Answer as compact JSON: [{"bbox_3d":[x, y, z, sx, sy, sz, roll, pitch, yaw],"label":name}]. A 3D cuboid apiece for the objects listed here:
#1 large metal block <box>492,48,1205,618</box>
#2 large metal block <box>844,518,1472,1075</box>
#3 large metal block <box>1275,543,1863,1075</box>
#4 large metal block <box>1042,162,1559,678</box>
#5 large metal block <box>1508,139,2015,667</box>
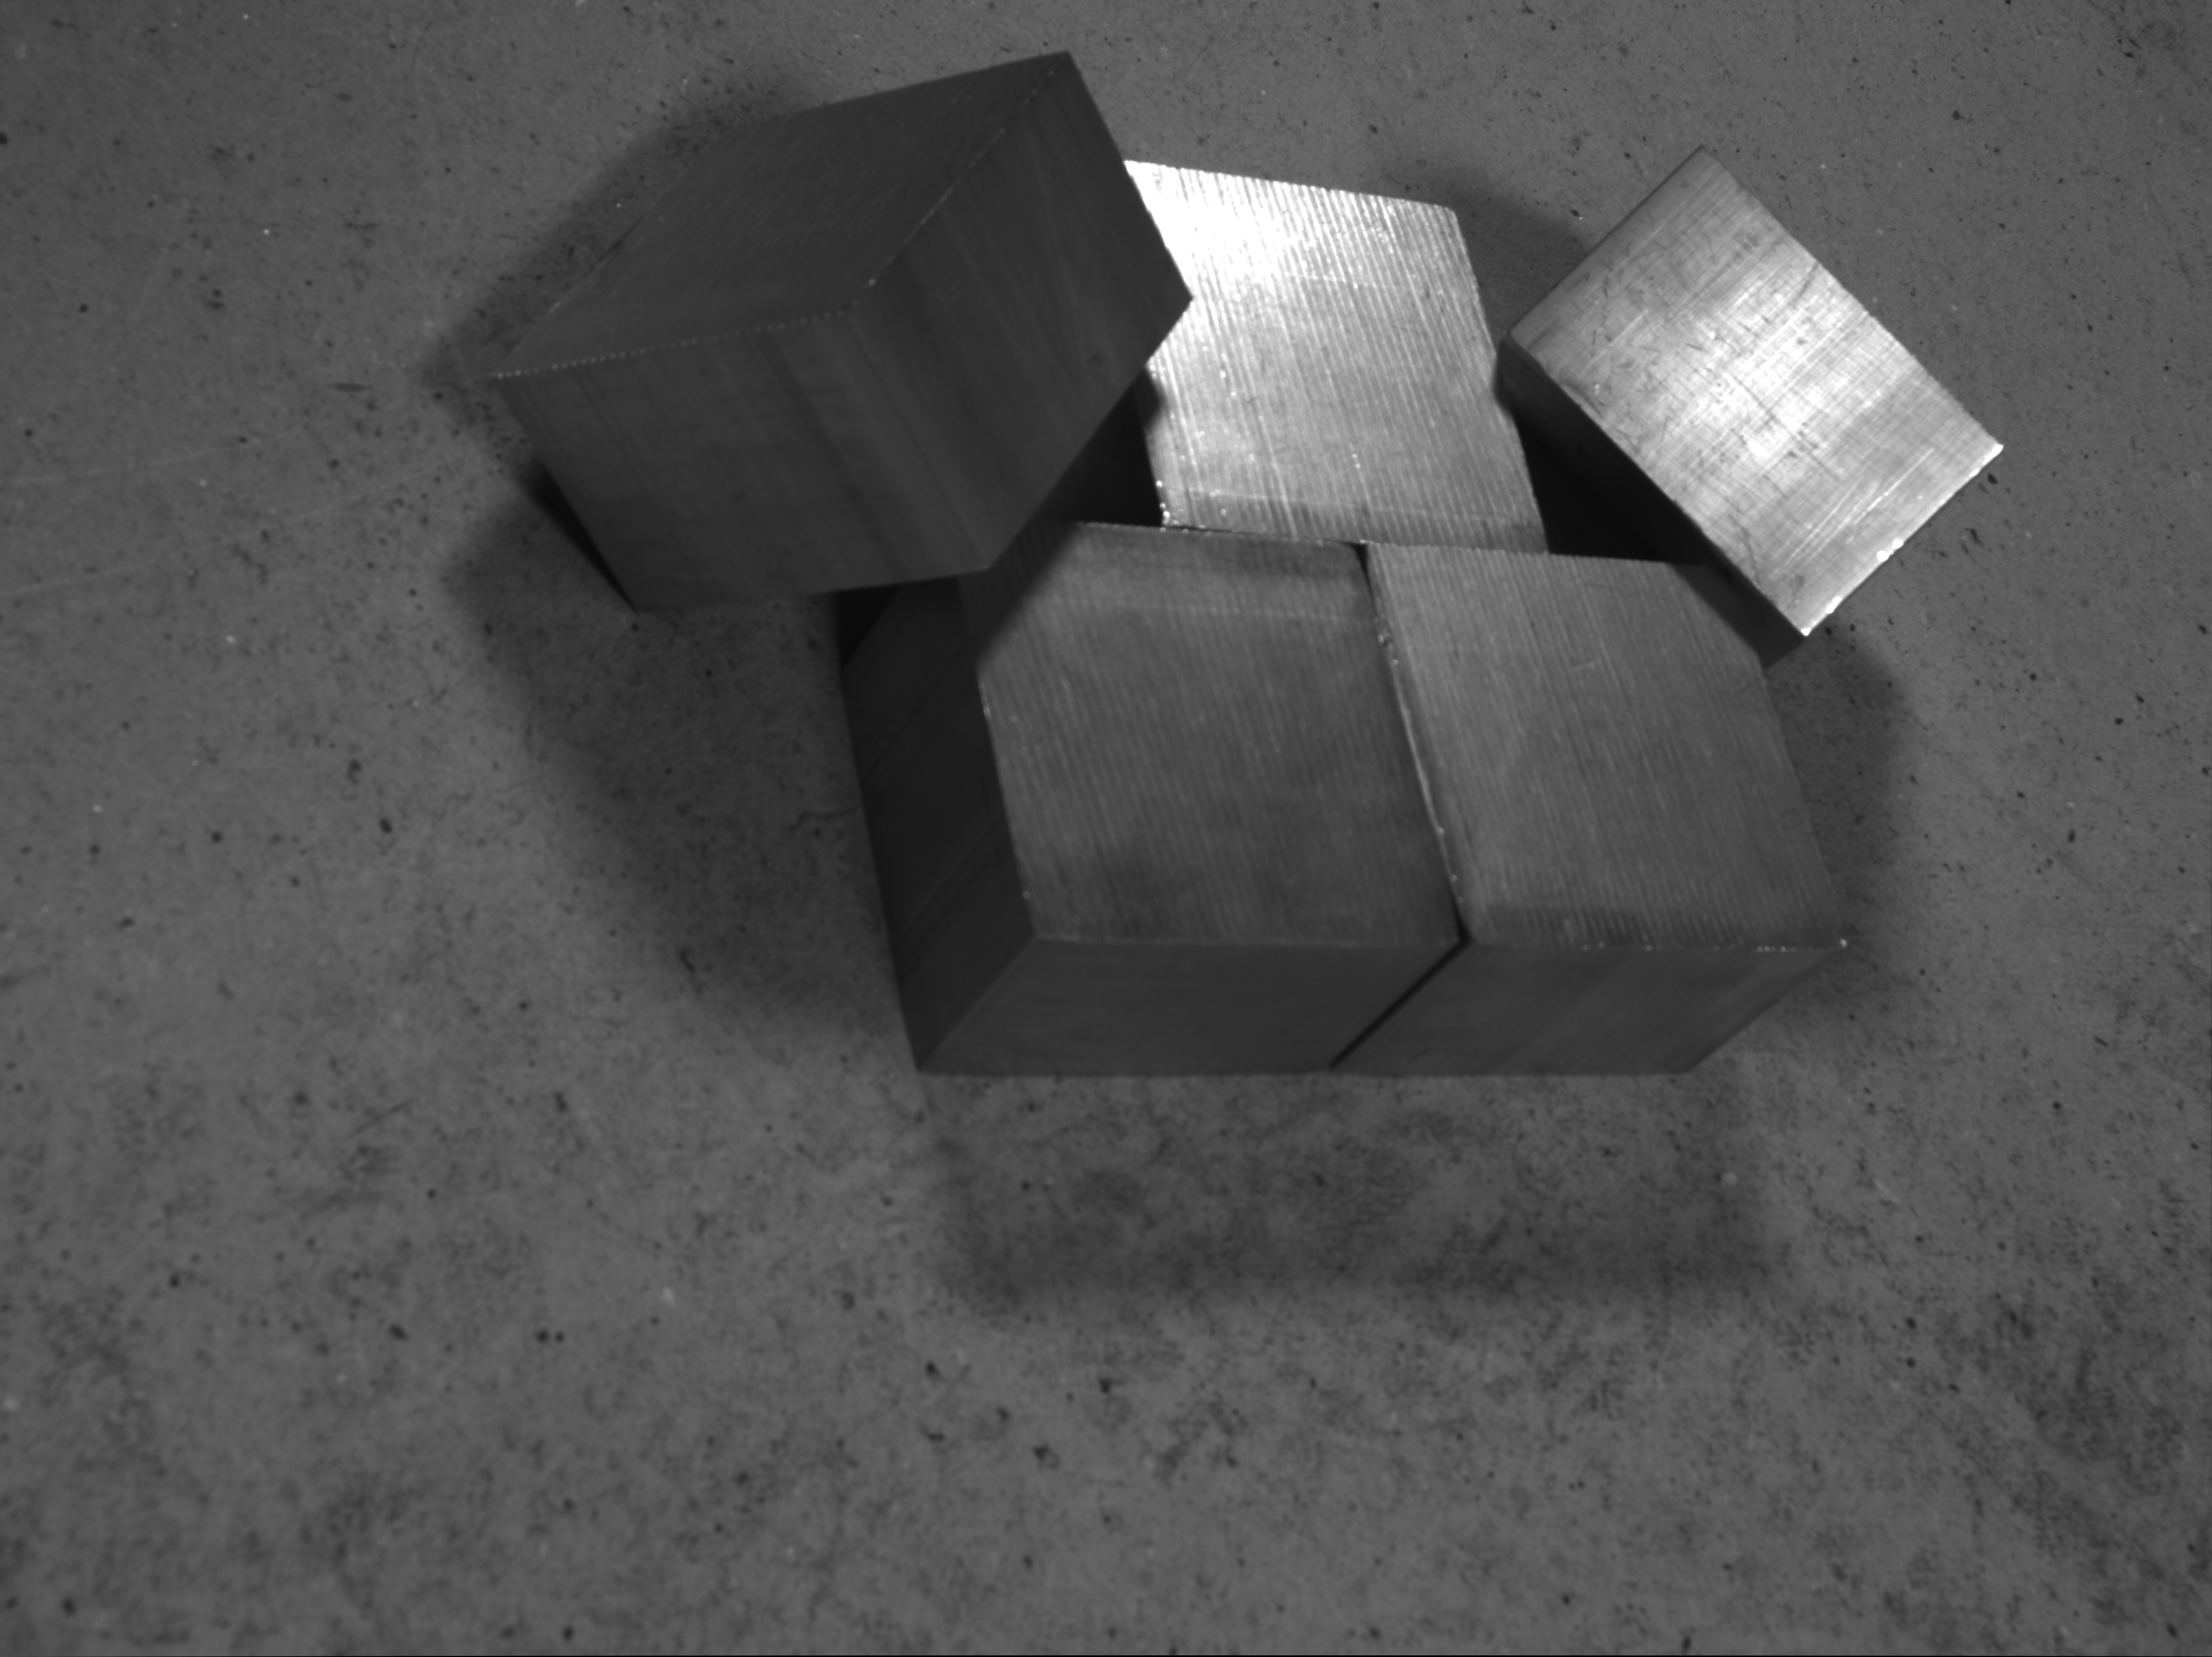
[{"bbox_3d":[-0.043,-0.084,0.624,0.080,0.080,0.050,-56,129,-39],"label":"large metal block"},{"bbox_3d":[0.007,-0.005,0.630,0.080,0.050,0.080,2,61,-27],"label":"large metal block"},{"bbox_3d":[0.080,-0.002,0.666,0.080,0.050,0.080,2,61,-27],"label":"large metal block"},{"bbox_3d":[0.029,-0.074,0.685,0.080,0.050,0.080,3,60,-27],"label":"large metal block"},{"bbox_3d":[0.123,-0.079,0.711,0.050,0.080,0.080,-44,86,2],"label":"large metal block"}]
